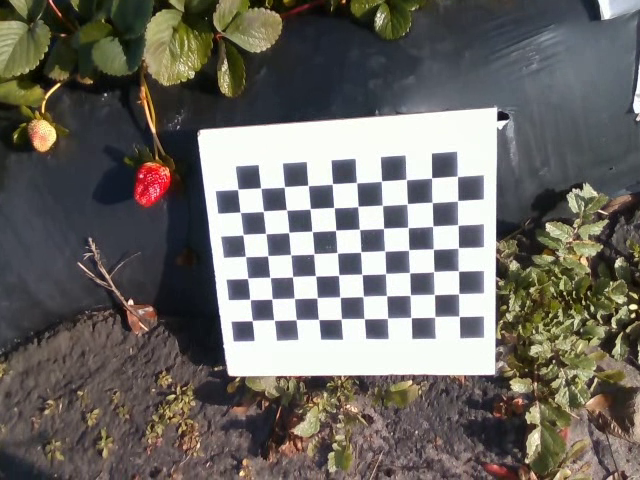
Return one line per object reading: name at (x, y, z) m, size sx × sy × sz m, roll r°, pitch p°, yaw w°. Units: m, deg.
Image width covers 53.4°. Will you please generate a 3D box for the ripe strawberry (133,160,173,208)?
ripe strawberry at (-0.062, -0.022, 0.228) m, size 0.015 × 0.023 × 0.015 m, roll 5°, pitch -35°, yaw 6°
